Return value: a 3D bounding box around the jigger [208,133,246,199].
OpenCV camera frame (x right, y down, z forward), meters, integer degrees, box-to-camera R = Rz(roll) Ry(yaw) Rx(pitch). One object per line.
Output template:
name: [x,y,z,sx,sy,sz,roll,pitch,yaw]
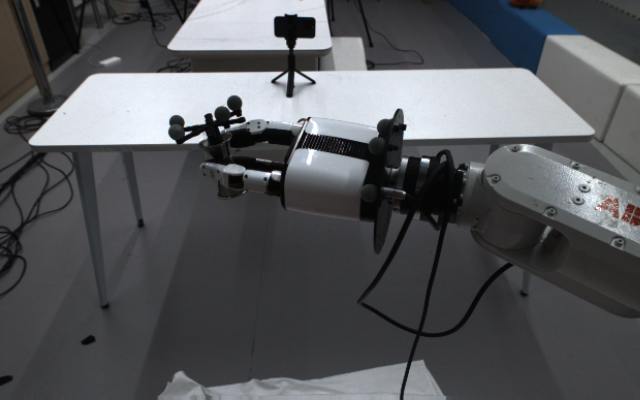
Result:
jigger: [-0.110,-0.040,0.573,0.043,0.071,0.043,-12,29,7]
